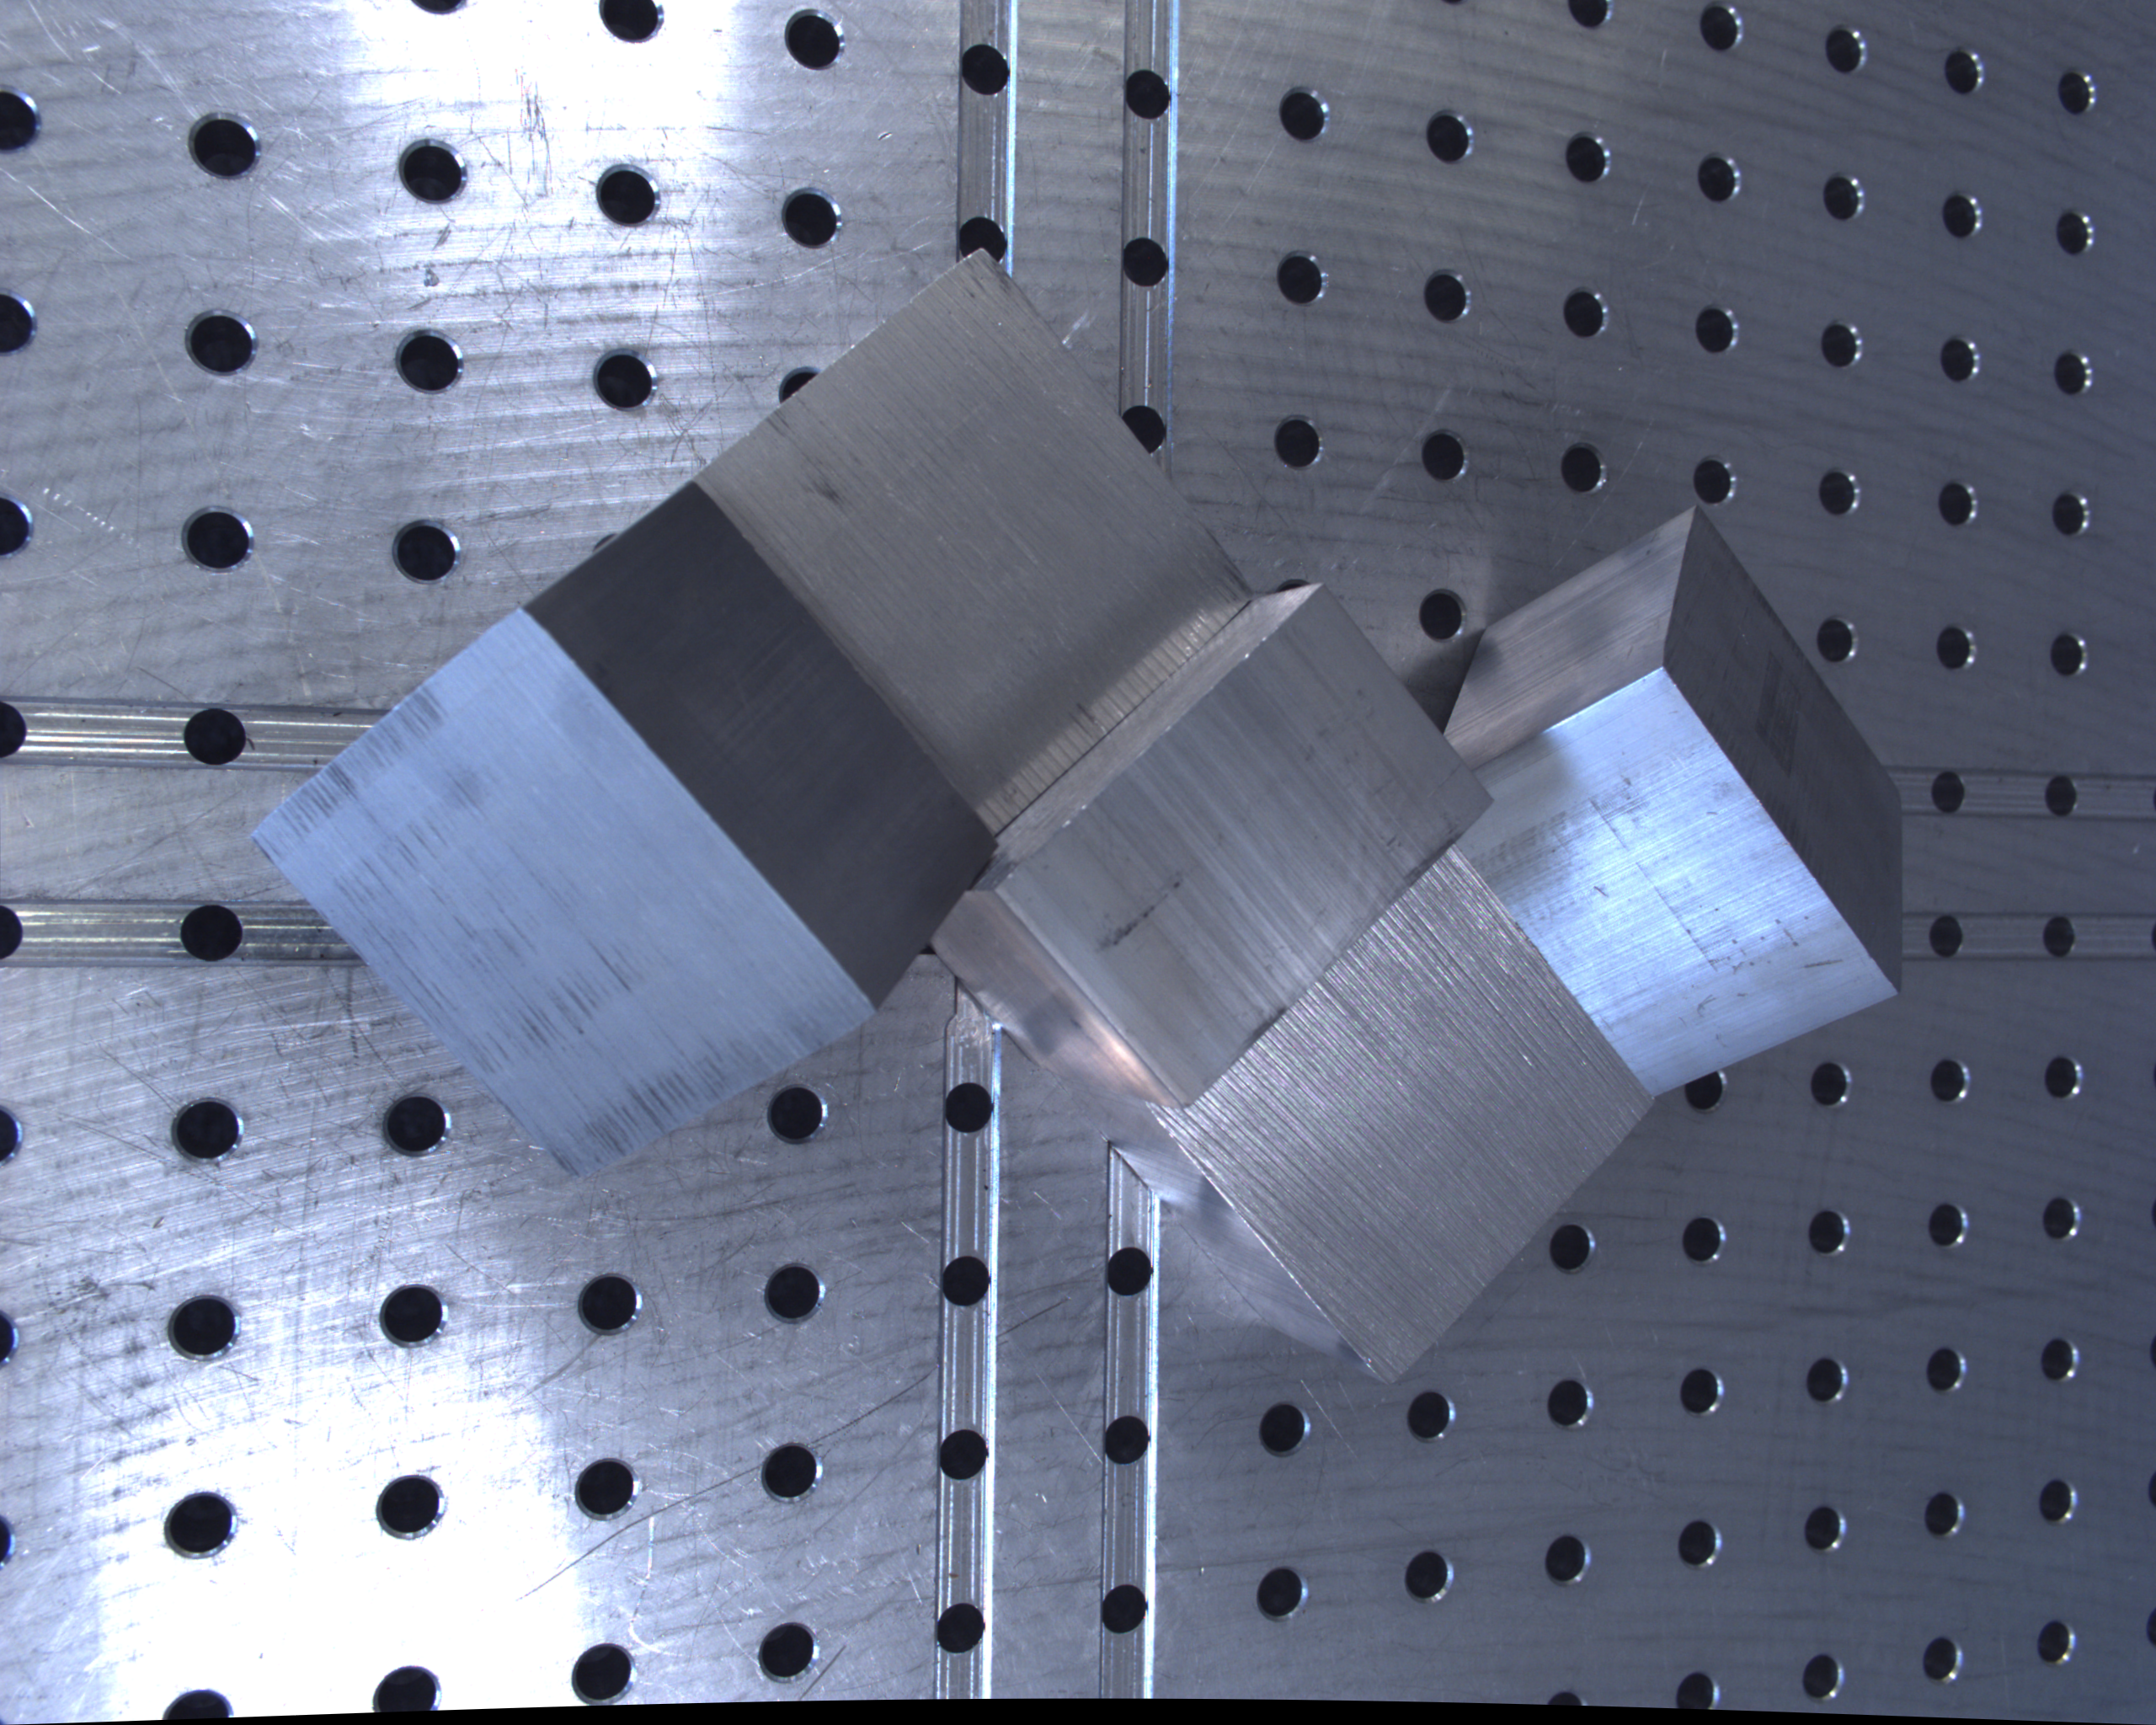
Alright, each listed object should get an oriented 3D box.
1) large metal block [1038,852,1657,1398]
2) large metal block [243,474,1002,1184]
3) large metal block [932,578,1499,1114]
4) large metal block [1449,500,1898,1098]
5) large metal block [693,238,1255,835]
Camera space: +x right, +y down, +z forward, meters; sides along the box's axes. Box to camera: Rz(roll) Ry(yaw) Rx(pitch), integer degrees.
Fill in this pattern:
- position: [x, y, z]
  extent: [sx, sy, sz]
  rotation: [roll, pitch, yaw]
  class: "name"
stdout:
- position: [0.053, 0.045, 0.418]
  extent: [0.080, 0.050, 0.080]
  rotation: [-43, 102, -15]
  class: "large metal block"
- position: [-0.075, -0.004, 0.348]
  extent: [0.080, 0.080, 0.050]
  rotation: [51, 36, -13]
  class: "large metal block"
- position: [0.016, -0.004, 0.389]
  extent: [0.080, 0.080, 0.050]
  rotation: [-44, 105, -15]
  class: "large metal block"
- position: [0.121, -0.014, 0.421]
  extent: [0.080, 0.050, 0.080]
  rotation: [51, 35, -14]
  class: "large metal block"
- position: [-0.029, -0.054, 0.388]
  extent: [0.080, 0.050, 0.080]
  rotation: [-43, 104, -14]
  class: "large metal block"
